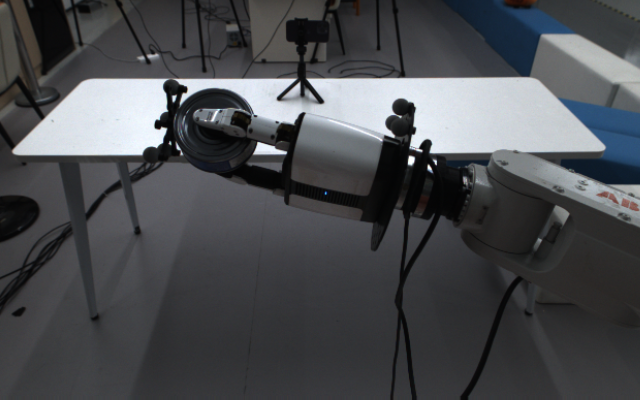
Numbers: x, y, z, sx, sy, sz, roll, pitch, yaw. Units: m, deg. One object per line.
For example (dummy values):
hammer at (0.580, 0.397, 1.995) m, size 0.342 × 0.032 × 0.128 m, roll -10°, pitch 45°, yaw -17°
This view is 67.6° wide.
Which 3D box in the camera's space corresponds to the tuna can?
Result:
tuna can at (-0.107, -0.075, 0.513) m, size 0.085 × 0.034 × 0.085 m, roll 1°, pitch 73°, yaw -4°
